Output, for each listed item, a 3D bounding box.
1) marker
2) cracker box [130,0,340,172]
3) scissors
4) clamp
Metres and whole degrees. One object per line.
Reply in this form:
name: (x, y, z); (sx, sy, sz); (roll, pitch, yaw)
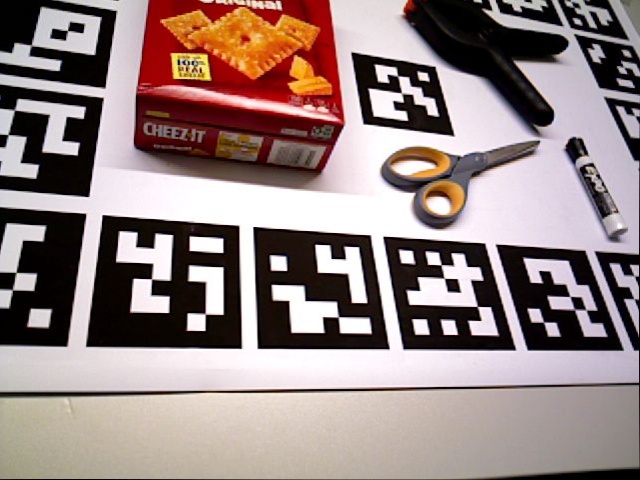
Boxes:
marker: (0.282, -0.056, 0.560); (0.019, 0.020, 0.120); (1, 60, -18)
cracker box: (-0.074, -0.172, 0.482); (0.162, 0.074, 0.211); (5, 59, -15)
scissors: (0.146, -0.071, 0.526); (0.198, 0.016, 0.087); (-23, 69, -31)
clamp: (0.176, -0.226, 0.634); (0.202, 0.037, 0.162); (30, 54, 0)
